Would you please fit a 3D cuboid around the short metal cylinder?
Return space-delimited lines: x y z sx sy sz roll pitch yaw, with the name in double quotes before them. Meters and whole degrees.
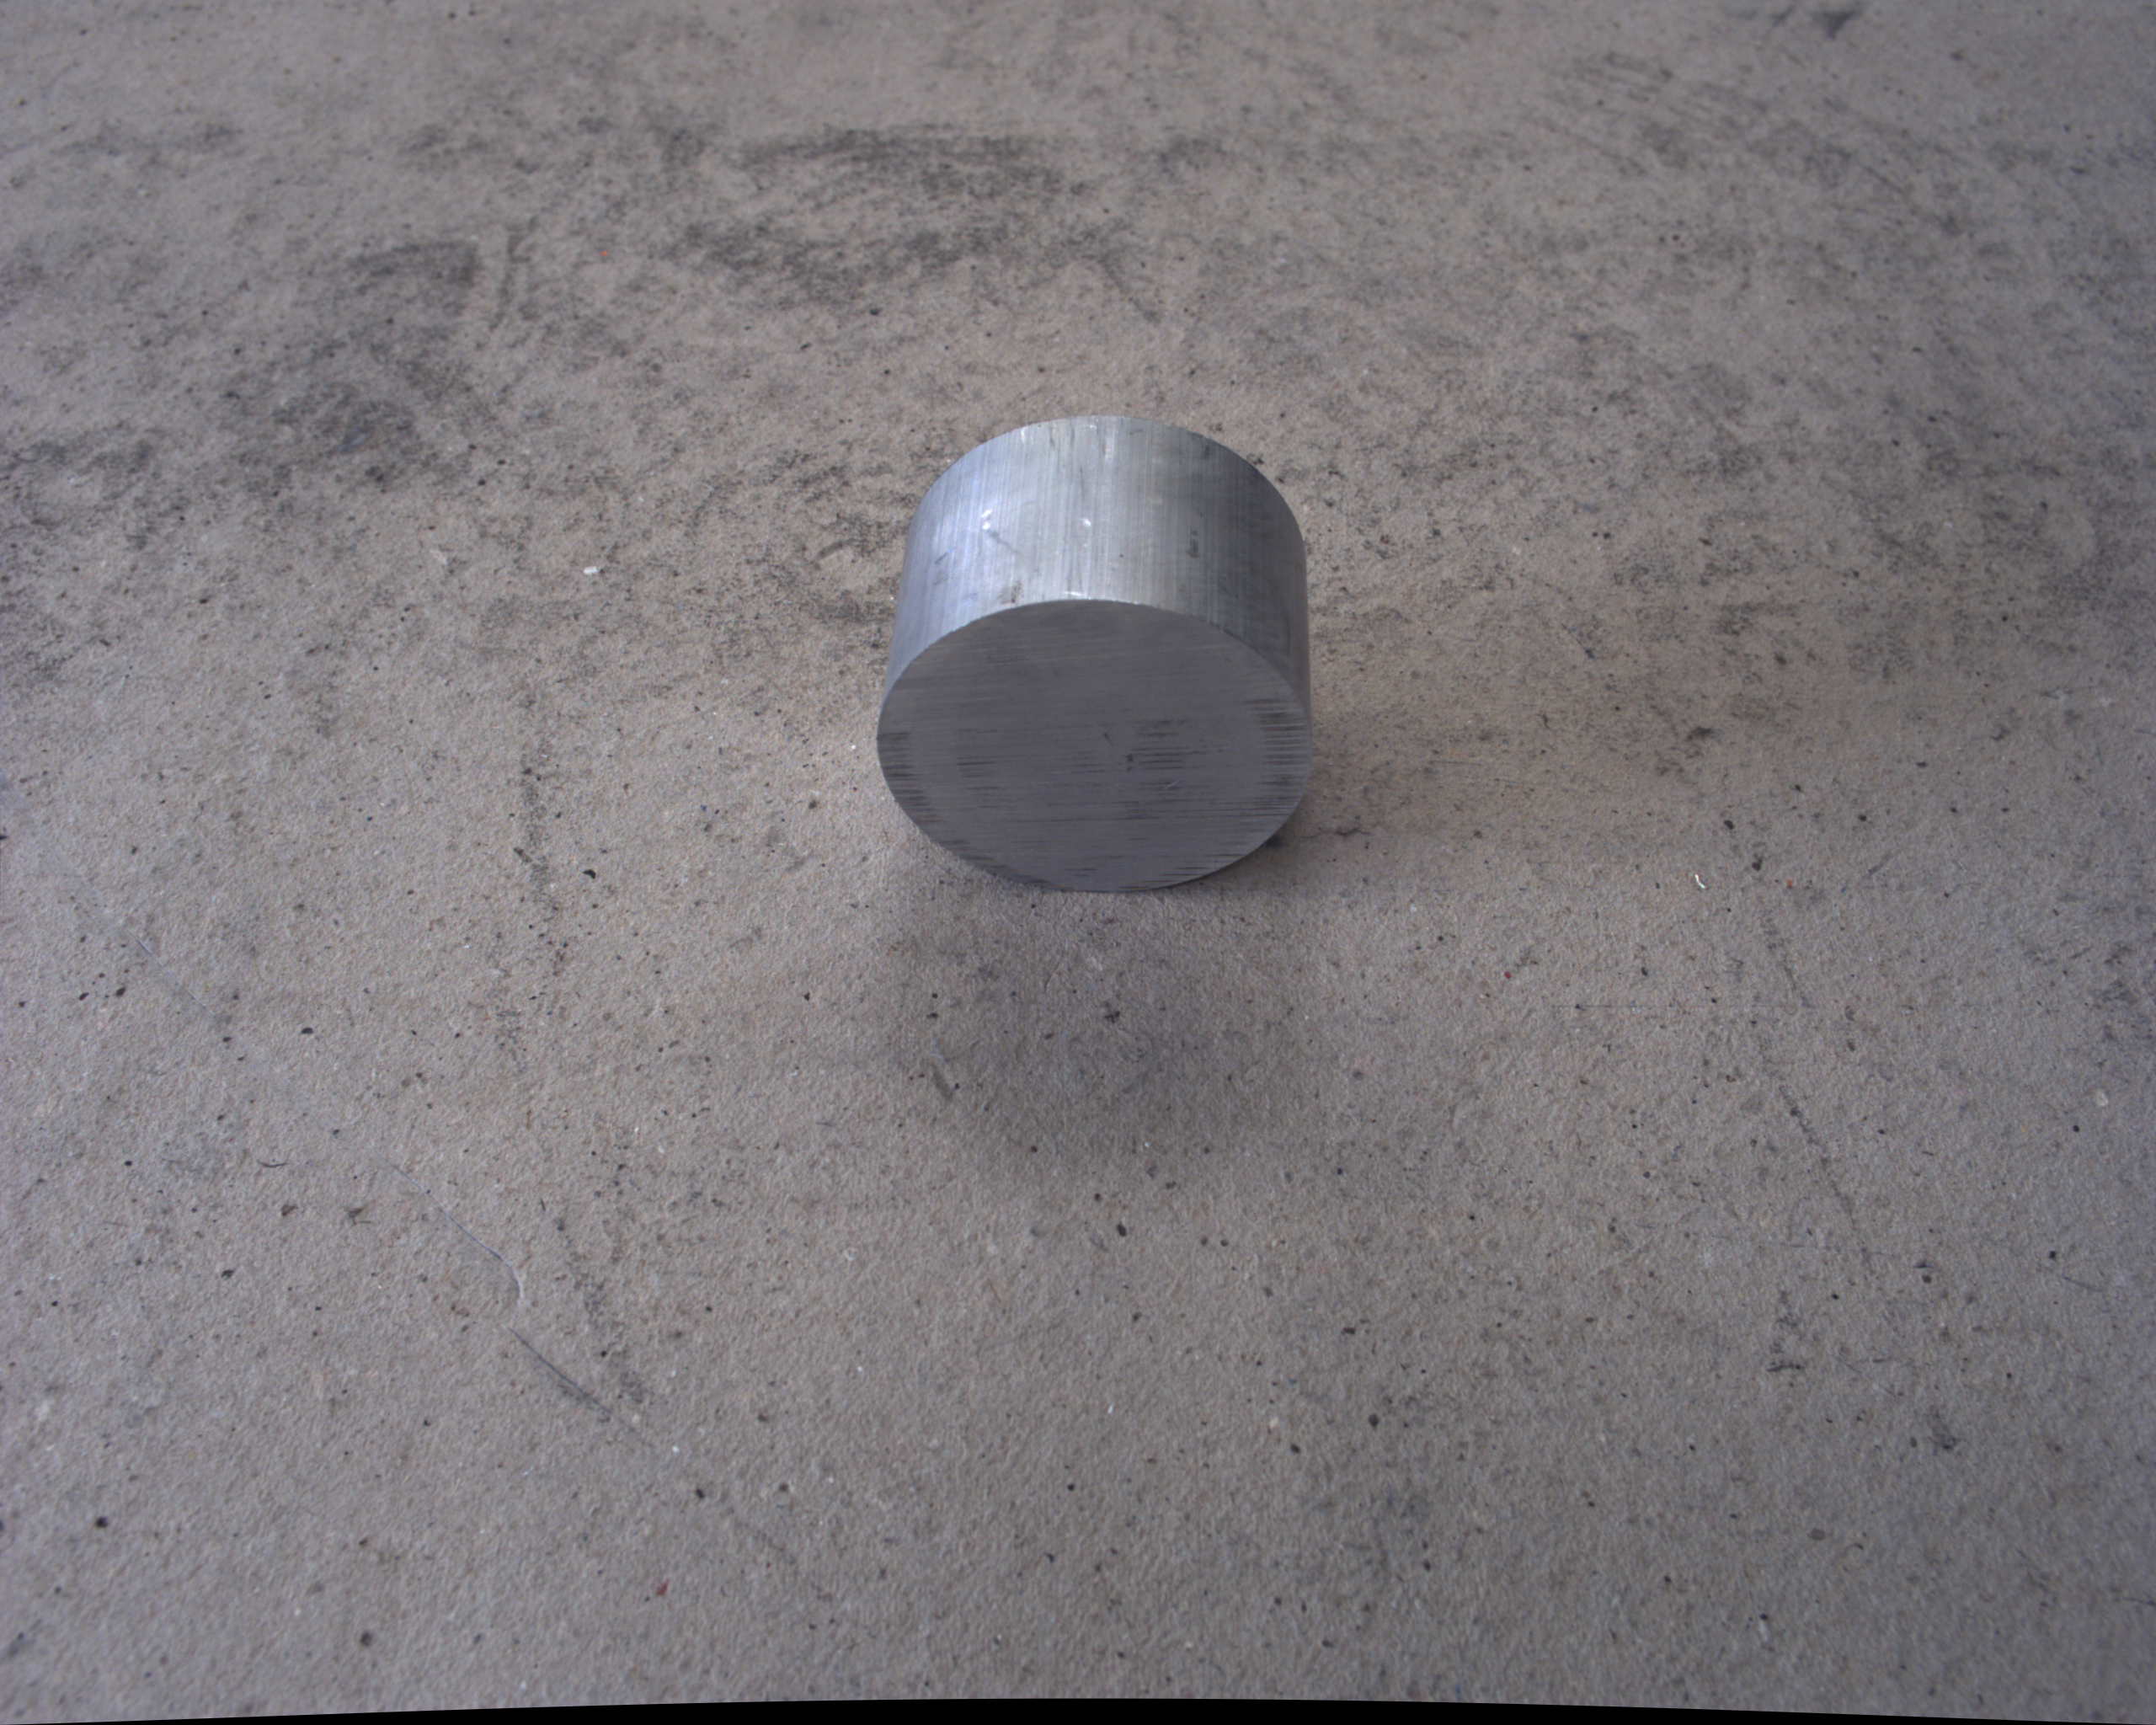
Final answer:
"short metal cylinder" 0.004 -0.039 0.402 0.080 0.080 0.050 1 50 1
